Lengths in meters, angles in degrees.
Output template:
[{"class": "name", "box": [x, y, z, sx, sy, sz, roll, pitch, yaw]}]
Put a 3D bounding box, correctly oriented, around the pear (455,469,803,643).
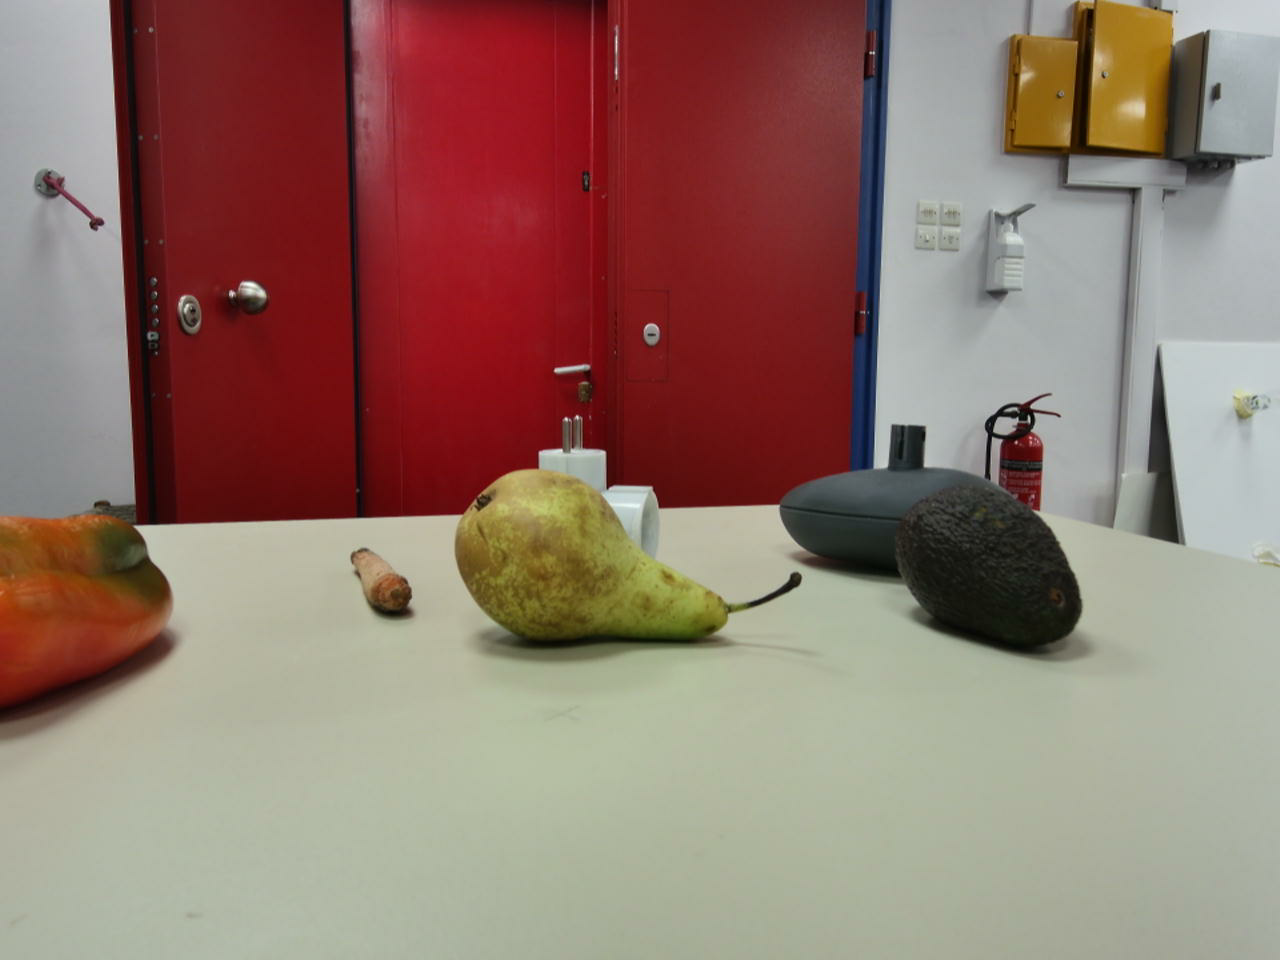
[{"class": "pear", "box": [-0.008, 0.032, 0.440, 0.144, 0.075, 0.071, -1, 4, -6]}]
